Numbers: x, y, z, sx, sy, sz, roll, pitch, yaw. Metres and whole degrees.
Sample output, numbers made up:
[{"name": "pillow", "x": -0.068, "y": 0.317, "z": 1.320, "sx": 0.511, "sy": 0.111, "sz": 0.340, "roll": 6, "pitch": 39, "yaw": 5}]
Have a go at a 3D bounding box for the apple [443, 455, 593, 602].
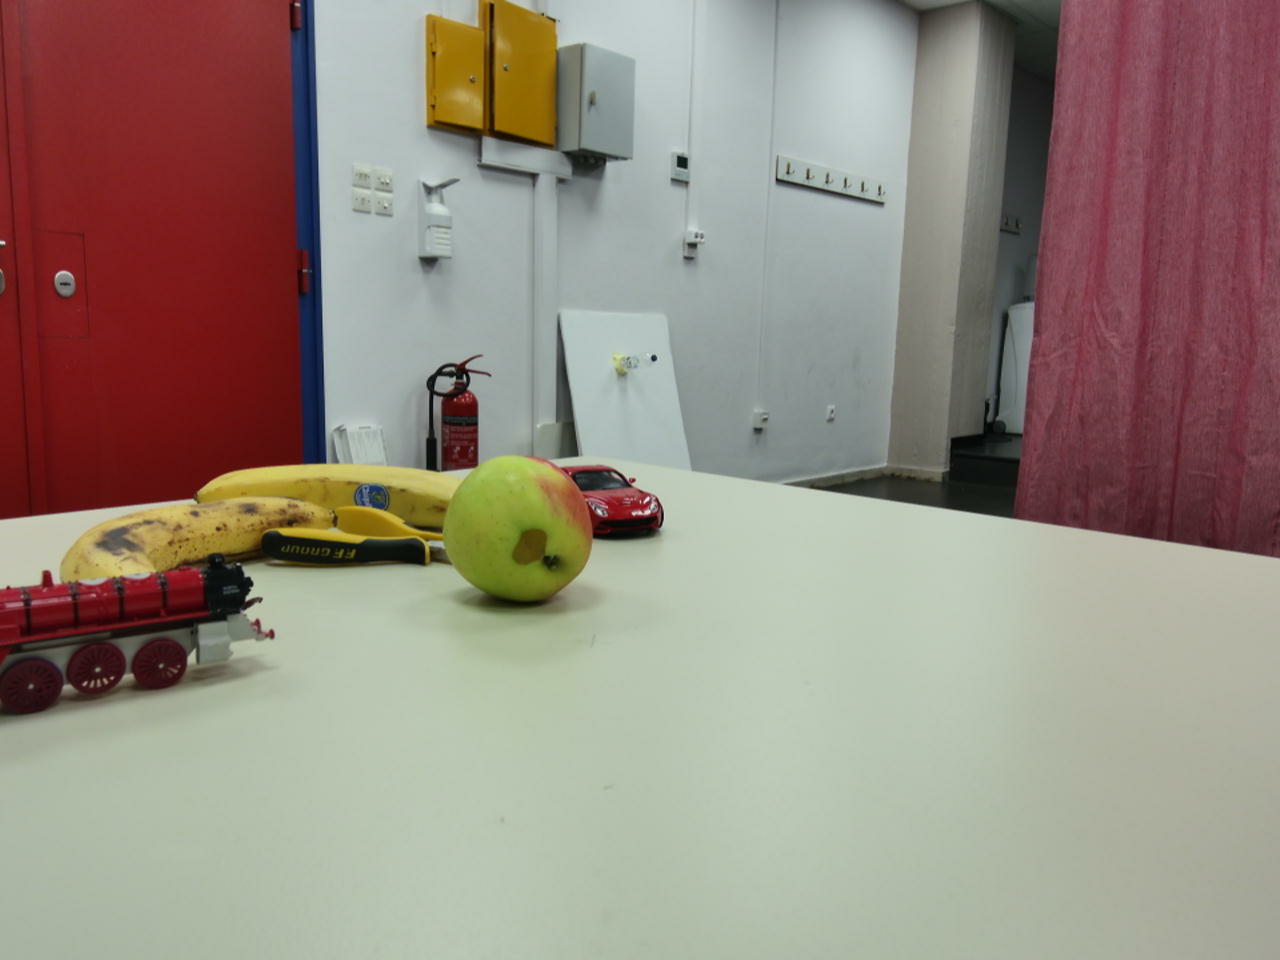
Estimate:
[{"name": "apple", "x": -0.062, "y": 0.024, "z": 0.519, "sx": 0.075, "sy": 0.074, "sz": 0.075, "roll": 3, "pitch": 7, "yaw": 22}]
